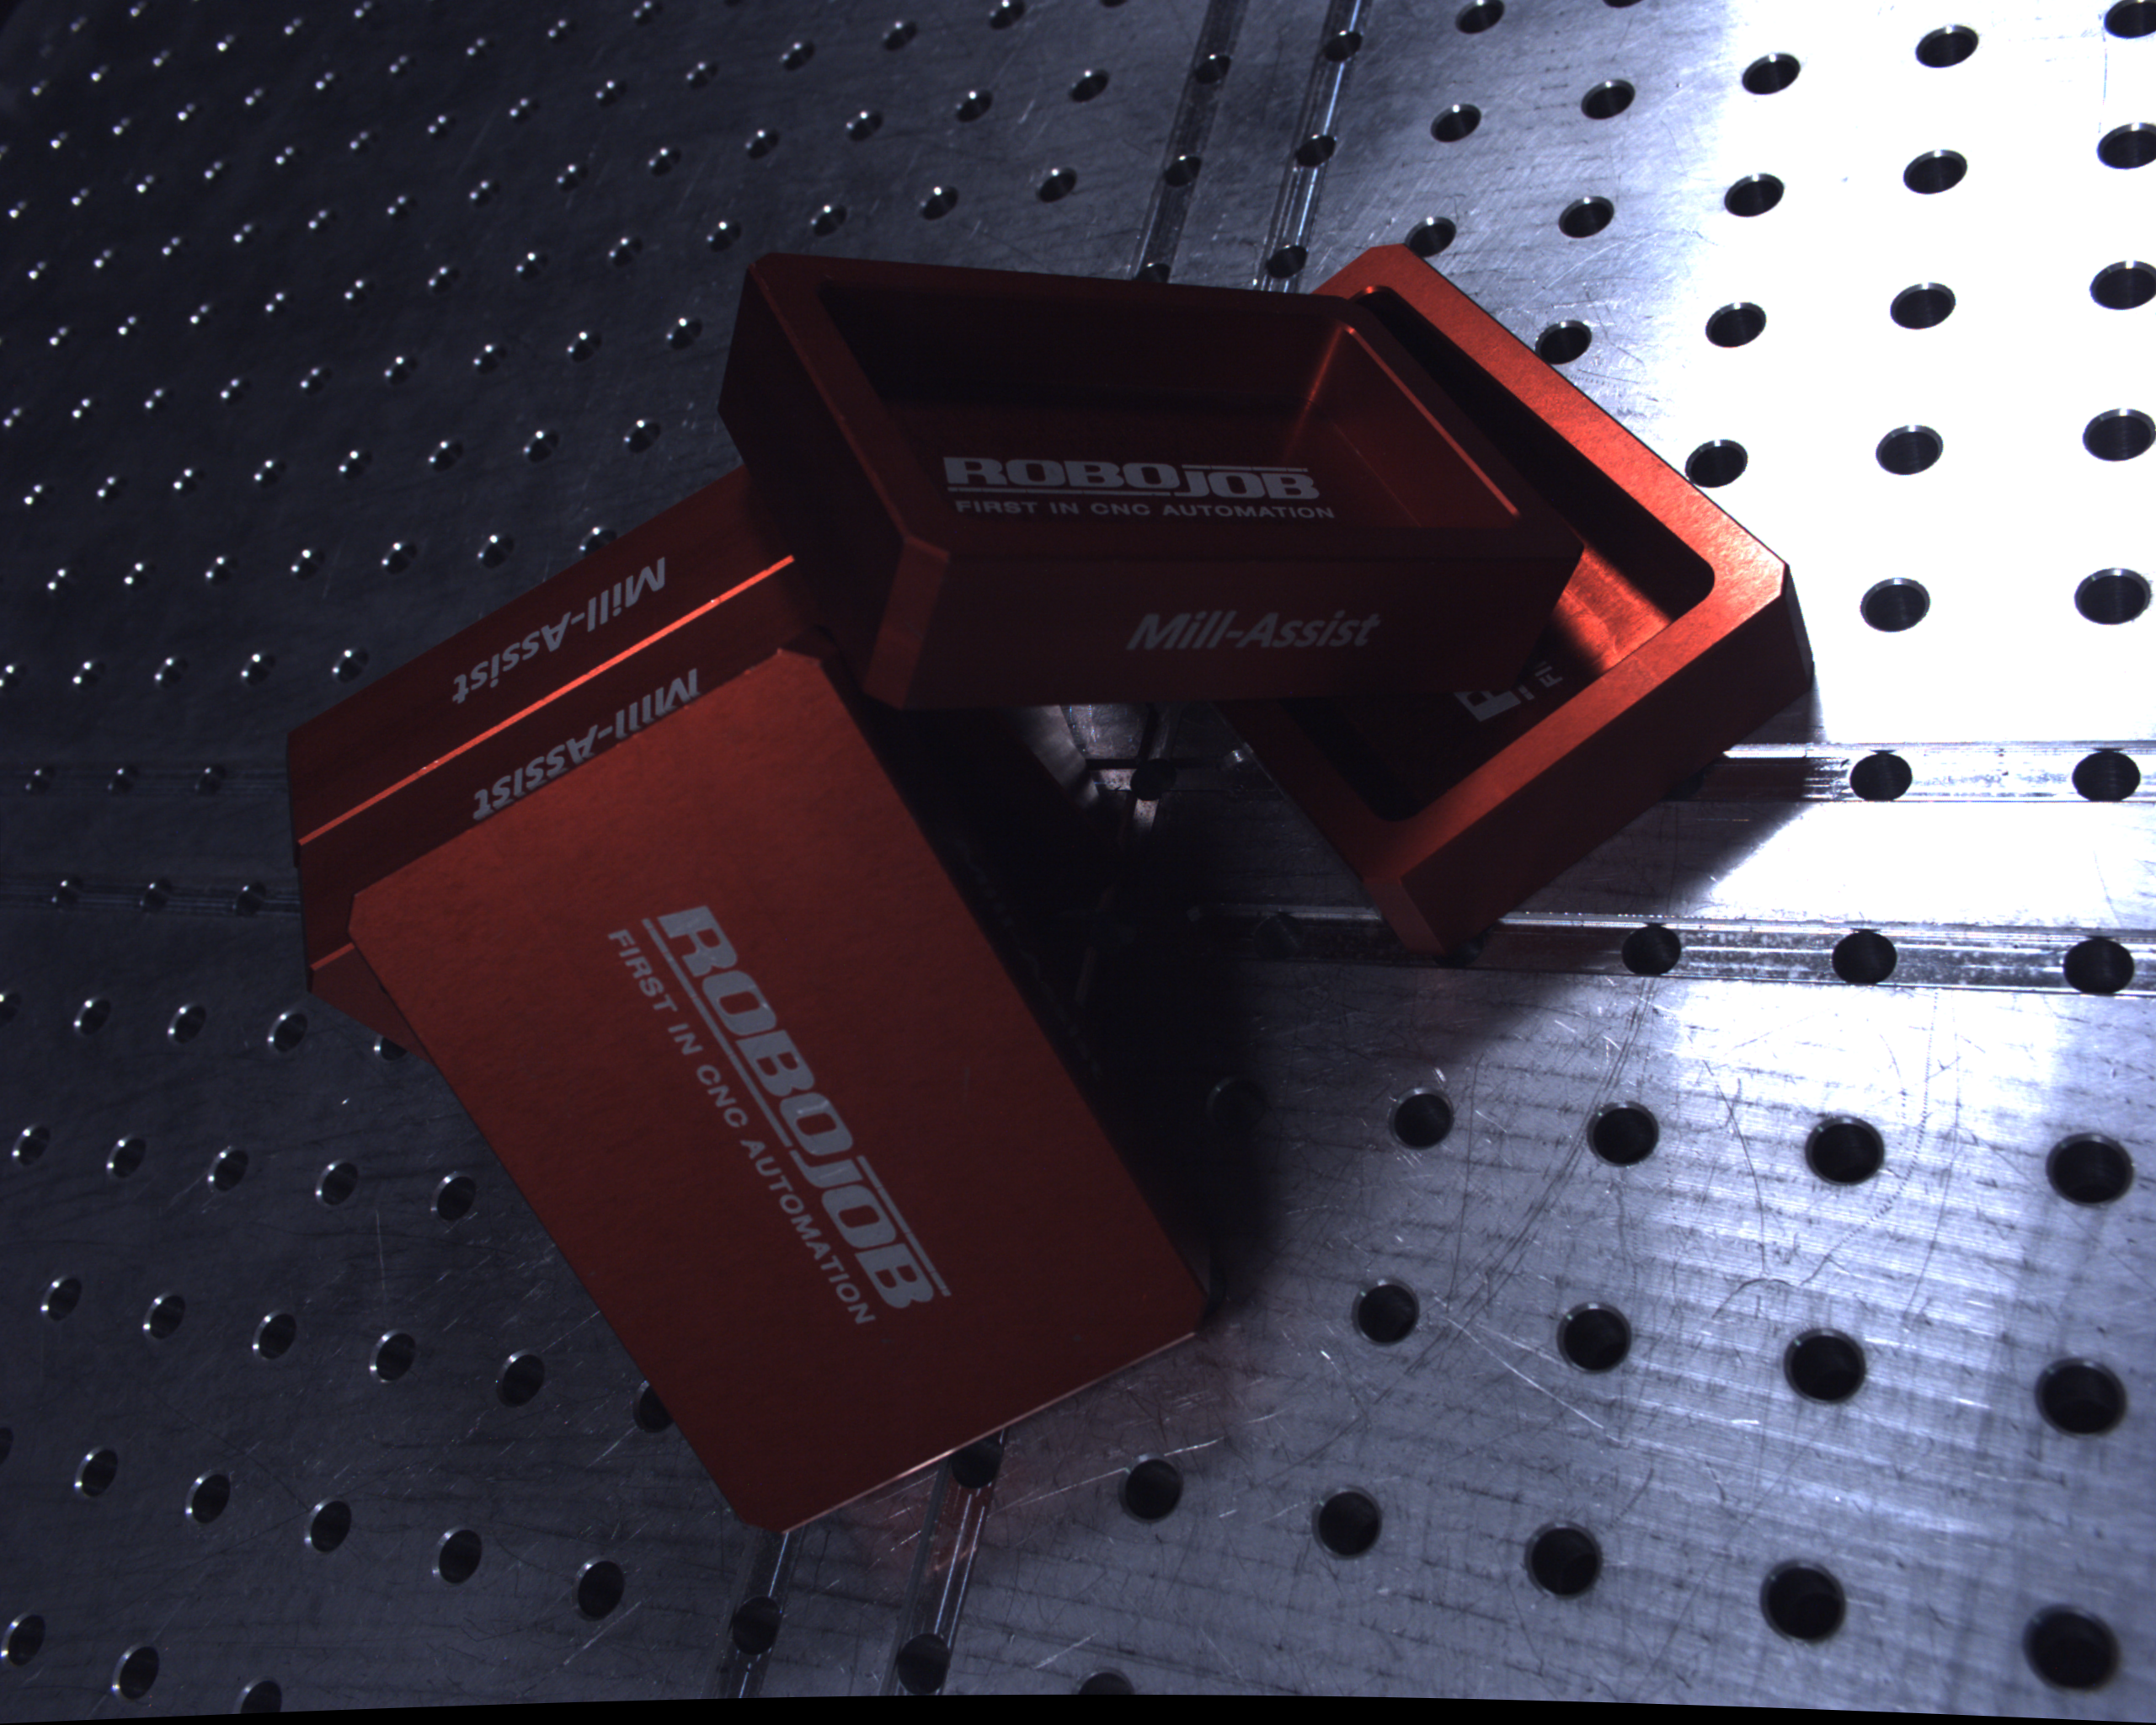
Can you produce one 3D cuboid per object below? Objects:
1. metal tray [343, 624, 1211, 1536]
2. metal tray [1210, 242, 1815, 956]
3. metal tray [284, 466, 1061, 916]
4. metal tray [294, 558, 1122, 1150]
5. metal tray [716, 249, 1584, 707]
[{"bbox_3d":[-0.047,0.038,0.349,0.090,0.130,0.030,-29,11,10],"label":"metal tray"},{"bbox_3d":[0.064,-0.055,0.403,0.090,0.030,0.130,-37,51,3],"label":"metal tray"},{"bbox_3d":[-0.078,-0.022,0.418,0.130,0.090,0.030,-29,52,10],"label":"metal tray"},{"bbox_3d":[-0.069,0.000,0.399,0.130,0.090,0.030,-29,52,10],"label":"metal tray"},{"bbox_3d":[0.012,-0.069,0.370,0.131,0.030,0.090,-4,45,-29],"label":"metal tray"}]
